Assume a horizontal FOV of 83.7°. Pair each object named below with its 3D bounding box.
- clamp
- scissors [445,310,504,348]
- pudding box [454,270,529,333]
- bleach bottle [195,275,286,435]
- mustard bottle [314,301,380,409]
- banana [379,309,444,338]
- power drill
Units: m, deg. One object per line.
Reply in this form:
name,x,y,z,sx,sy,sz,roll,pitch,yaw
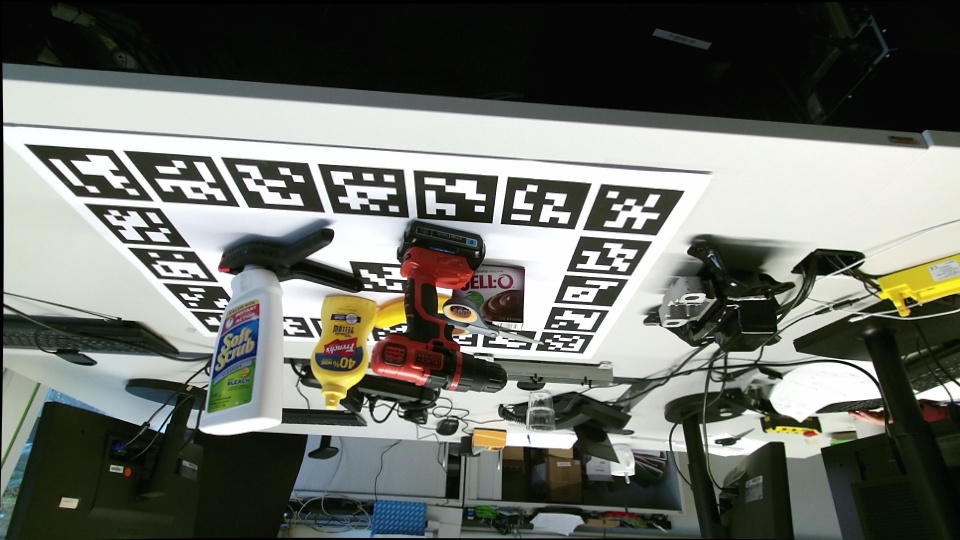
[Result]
clamp,-0.296,0.010,0.817,0.203,0.036,0.165,1,147,5
scissors,0.024,0.108,0.808,0.203,0.016,0.088,21,141,-20
pudding box,0.018,0.049,0.835,0.114,0.089,0.039,6,155,-5
bleach bottle,-0.336,0.105,0.776,0.103,0.249,0.068,-12,150,10
mustard bottle,-0.233,0.144,0.923,0.096,0.190,0.058,12,148,-13
banana,-0.123,0.102,0.972,0.198,0.038,0.074,-20,159,32
power drill,-0.039,0.068,0.722,0.185,0.186,0.057,8,155,-14
